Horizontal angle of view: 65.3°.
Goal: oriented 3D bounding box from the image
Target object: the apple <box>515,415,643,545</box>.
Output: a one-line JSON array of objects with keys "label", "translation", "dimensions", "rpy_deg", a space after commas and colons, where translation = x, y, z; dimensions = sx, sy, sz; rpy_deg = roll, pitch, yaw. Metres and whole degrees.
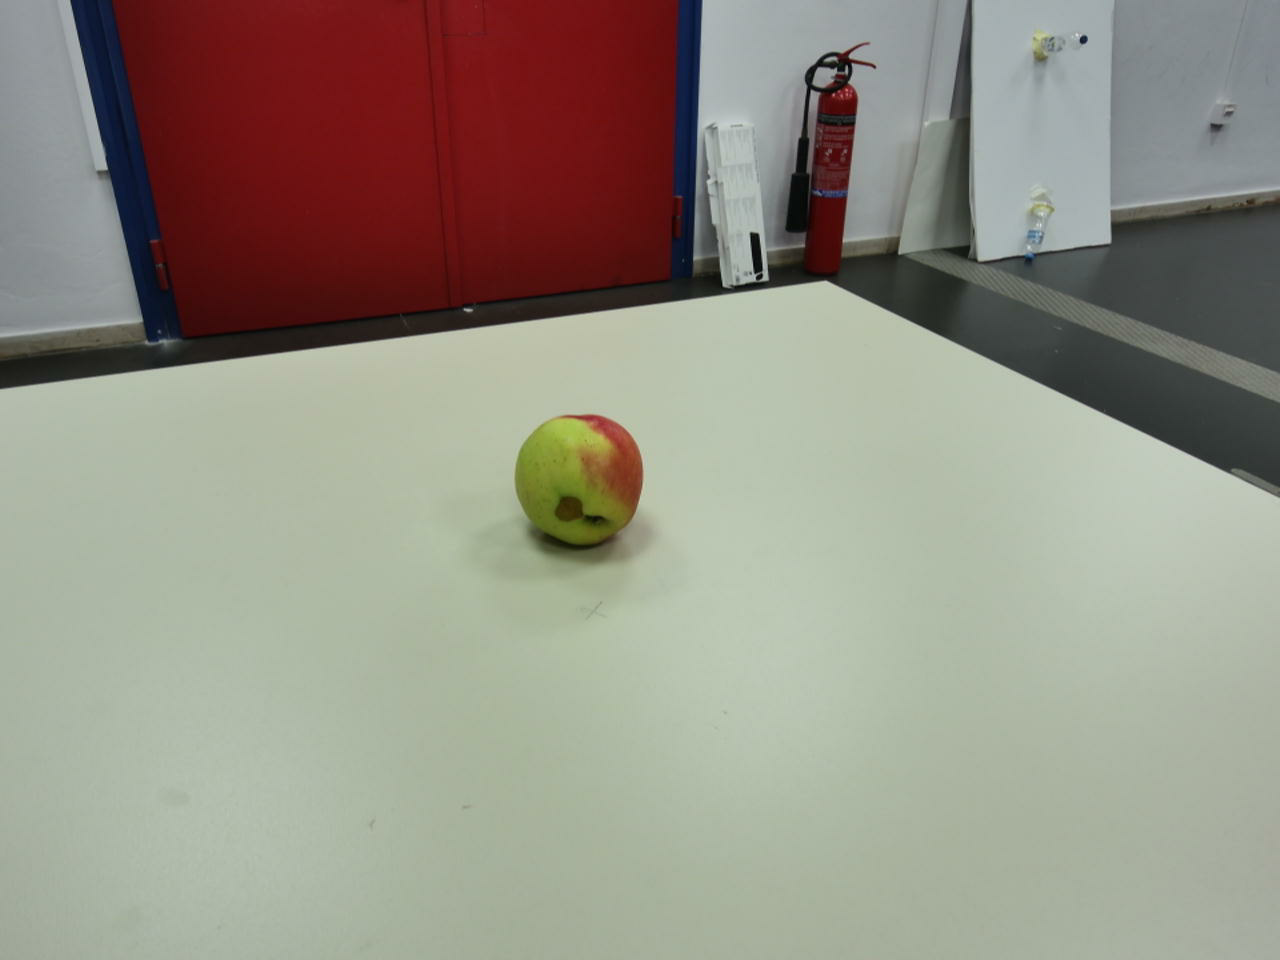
[{"label": "apple", "translation": [-0.034, -0.002, 0.579], "dimensions": [0.075, 0.074, 0.075], "rpy_deg": [-22, 34, -39]}]
